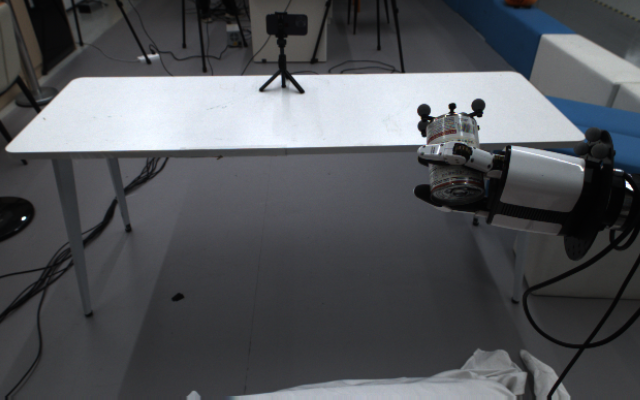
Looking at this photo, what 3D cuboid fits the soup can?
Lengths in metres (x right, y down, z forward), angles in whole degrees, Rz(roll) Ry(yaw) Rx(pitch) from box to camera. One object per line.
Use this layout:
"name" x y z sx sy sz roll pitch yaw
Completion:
"soup can" 0.175 -0.052 0.624 0.067 0.067 0.101 2 68 -1
